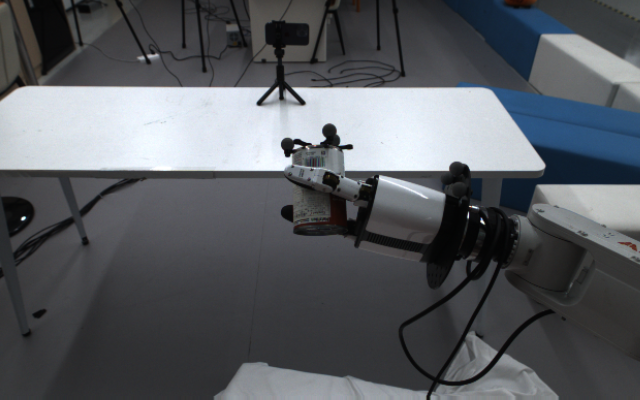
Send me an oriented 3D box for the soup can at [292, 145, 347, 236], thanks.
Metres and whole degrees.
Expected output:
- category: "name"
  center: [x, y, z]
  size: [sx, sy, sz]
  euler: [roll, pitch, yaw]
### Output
- category: "soup can"
  center: [0.001, -0.011, 0.602]
  size: [0.067, 0.067, 0.101]
  euler: [-2, 76, -6]
